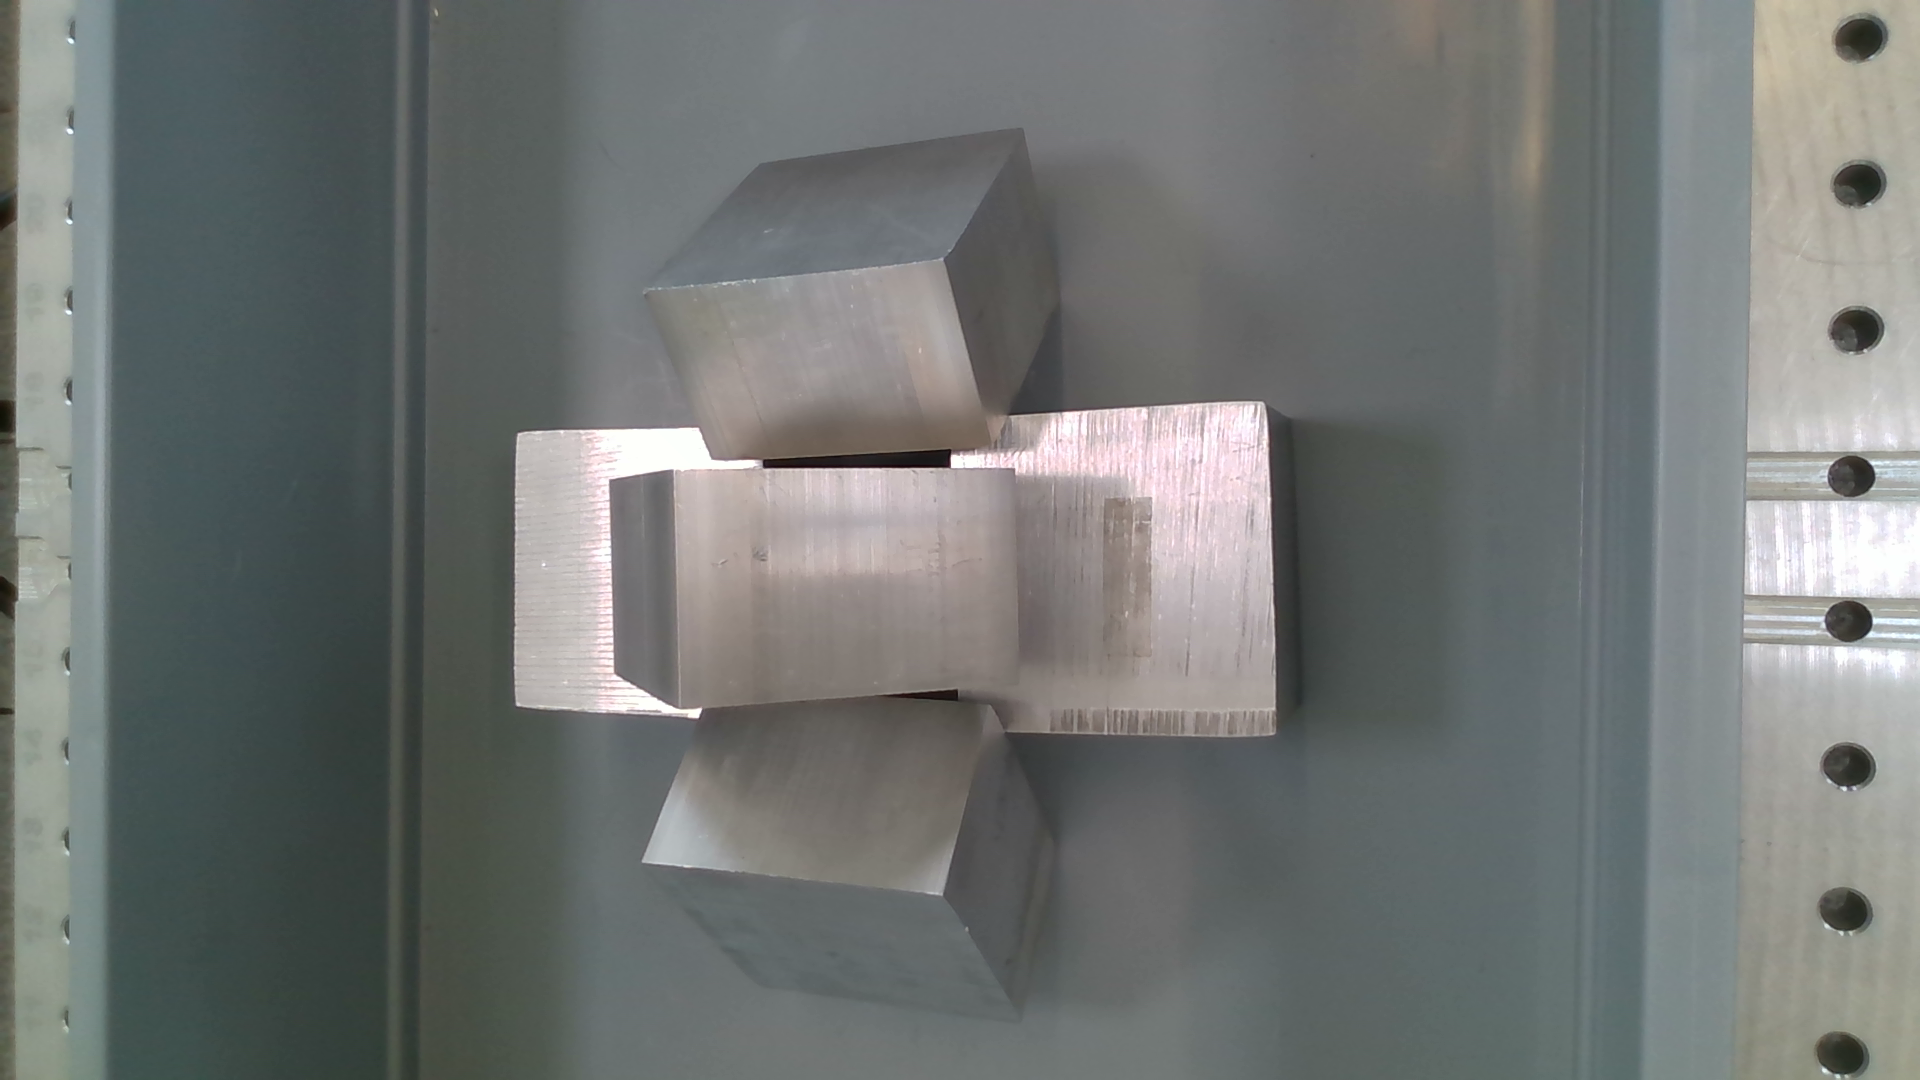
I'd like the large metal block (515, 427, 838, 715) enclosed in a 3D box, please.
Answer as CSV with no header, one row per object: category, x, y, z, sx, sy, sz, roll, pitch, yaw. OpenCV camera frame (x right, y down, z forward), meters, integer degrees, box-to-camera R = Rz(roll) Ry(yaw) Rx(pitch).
large metal block,-0.083,0.008,0.410,0.080,0.050,0.080,1,91,20

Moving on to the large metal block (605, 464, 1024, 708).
large metal block,-0.039,0.008,0.335,0.080,0.080,0.050,-2,91,-24

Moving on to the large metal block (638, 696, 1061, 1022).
large metal block,-0.025,0.083,0.366,0.080,0.080,0.050,1,52,21

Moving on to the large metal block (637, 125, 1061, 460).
large metal block,-0.025,-0.066,0.364,0.080,0.080,0.050,-2,126,21

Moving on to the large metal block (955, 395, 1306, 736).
large metal block,0.046,0.007,0.360,0.080,0.050,0.080,-2,90,20
